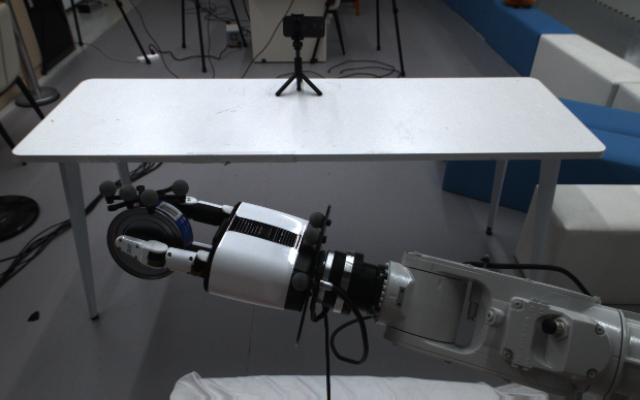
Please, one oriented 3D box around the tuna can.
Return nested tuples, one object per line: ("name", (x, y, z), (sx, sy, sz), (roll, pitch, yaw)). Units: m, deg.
("tuna can", (-0.182, 0.044, 0.537), (0.085, 0.085, 0.034), (4, 18, 3))
